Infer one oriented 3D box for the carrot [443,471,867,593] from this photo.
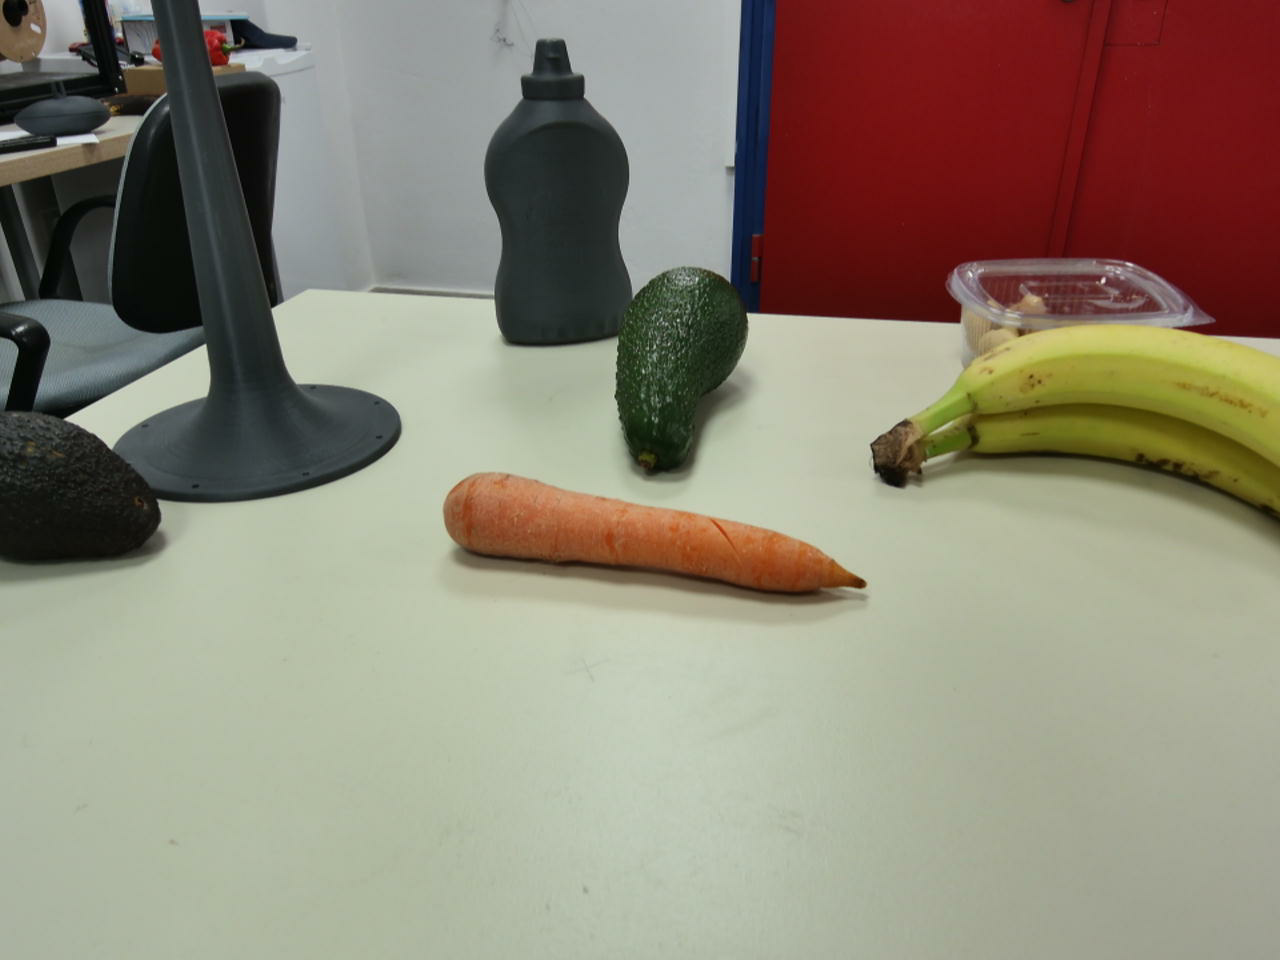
[{"bbox_3d":[0.005,0.023,0.456,0.196,0.041,0.039,5,25,12],"label":"carrot"}]
